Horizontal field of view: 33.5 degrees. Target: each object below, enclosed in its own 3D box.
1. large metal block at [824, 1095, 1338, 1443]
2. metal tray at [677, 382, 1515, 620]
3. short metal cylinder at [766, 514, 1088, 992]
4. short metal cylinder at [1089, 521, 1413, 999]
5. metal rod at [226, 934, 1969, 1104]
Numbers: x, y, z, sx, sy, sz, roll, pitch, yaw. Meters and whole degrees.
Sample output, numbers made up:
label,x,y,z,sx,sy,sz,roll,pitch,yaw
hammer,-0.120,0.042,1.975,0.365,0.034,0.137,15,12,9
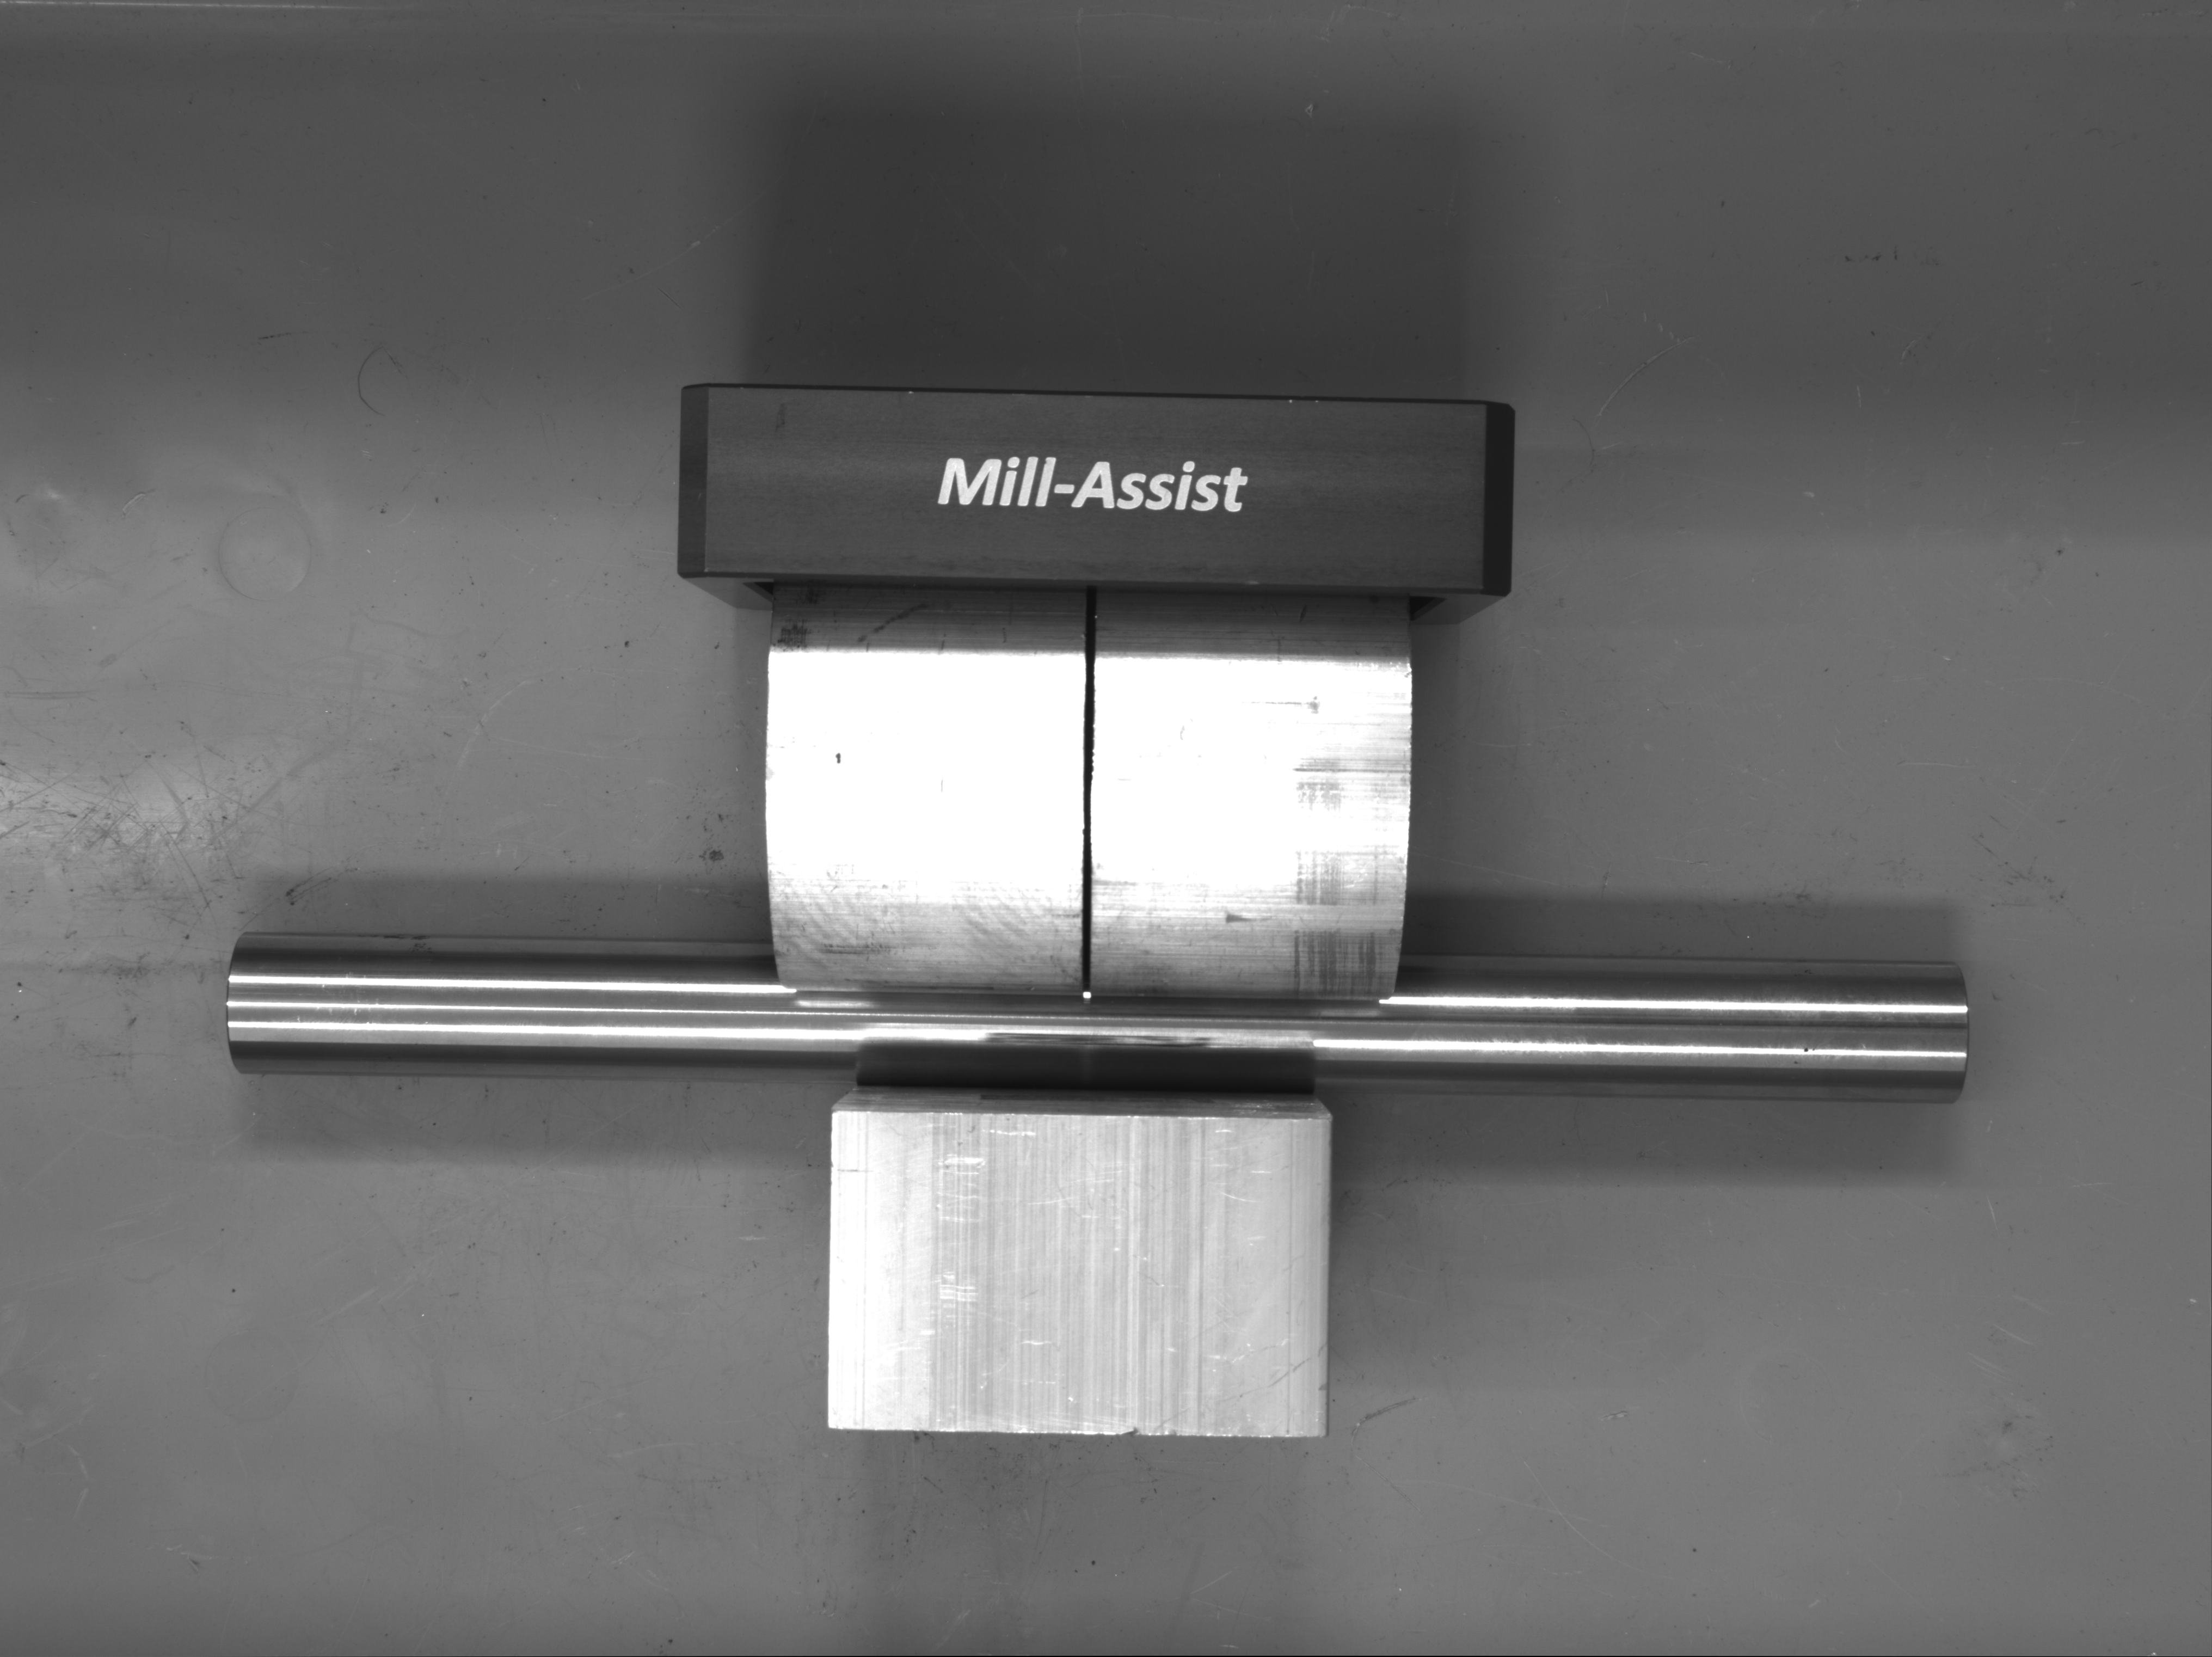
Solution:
label,x,y,z,sx,sy,sz,roll,pitch,yaw
large metal block,-0.004,0.071,0.617,0.080,0.080,0.050,1,90,0
metal tray,-0.001,-0.053,0.612,0.130,0.090,0.030,1,90,0
short metal cylinder,-0.028,-0.012,0.618,0.050,0.080,0.080,1,90,0
short metal cylinder,0.023,-0.012,0.618,0.050,0.080,0.080,2,90,0
metal rod,-0.001,0.034,0.644,0.300,0.025,0.025,1,90,0
